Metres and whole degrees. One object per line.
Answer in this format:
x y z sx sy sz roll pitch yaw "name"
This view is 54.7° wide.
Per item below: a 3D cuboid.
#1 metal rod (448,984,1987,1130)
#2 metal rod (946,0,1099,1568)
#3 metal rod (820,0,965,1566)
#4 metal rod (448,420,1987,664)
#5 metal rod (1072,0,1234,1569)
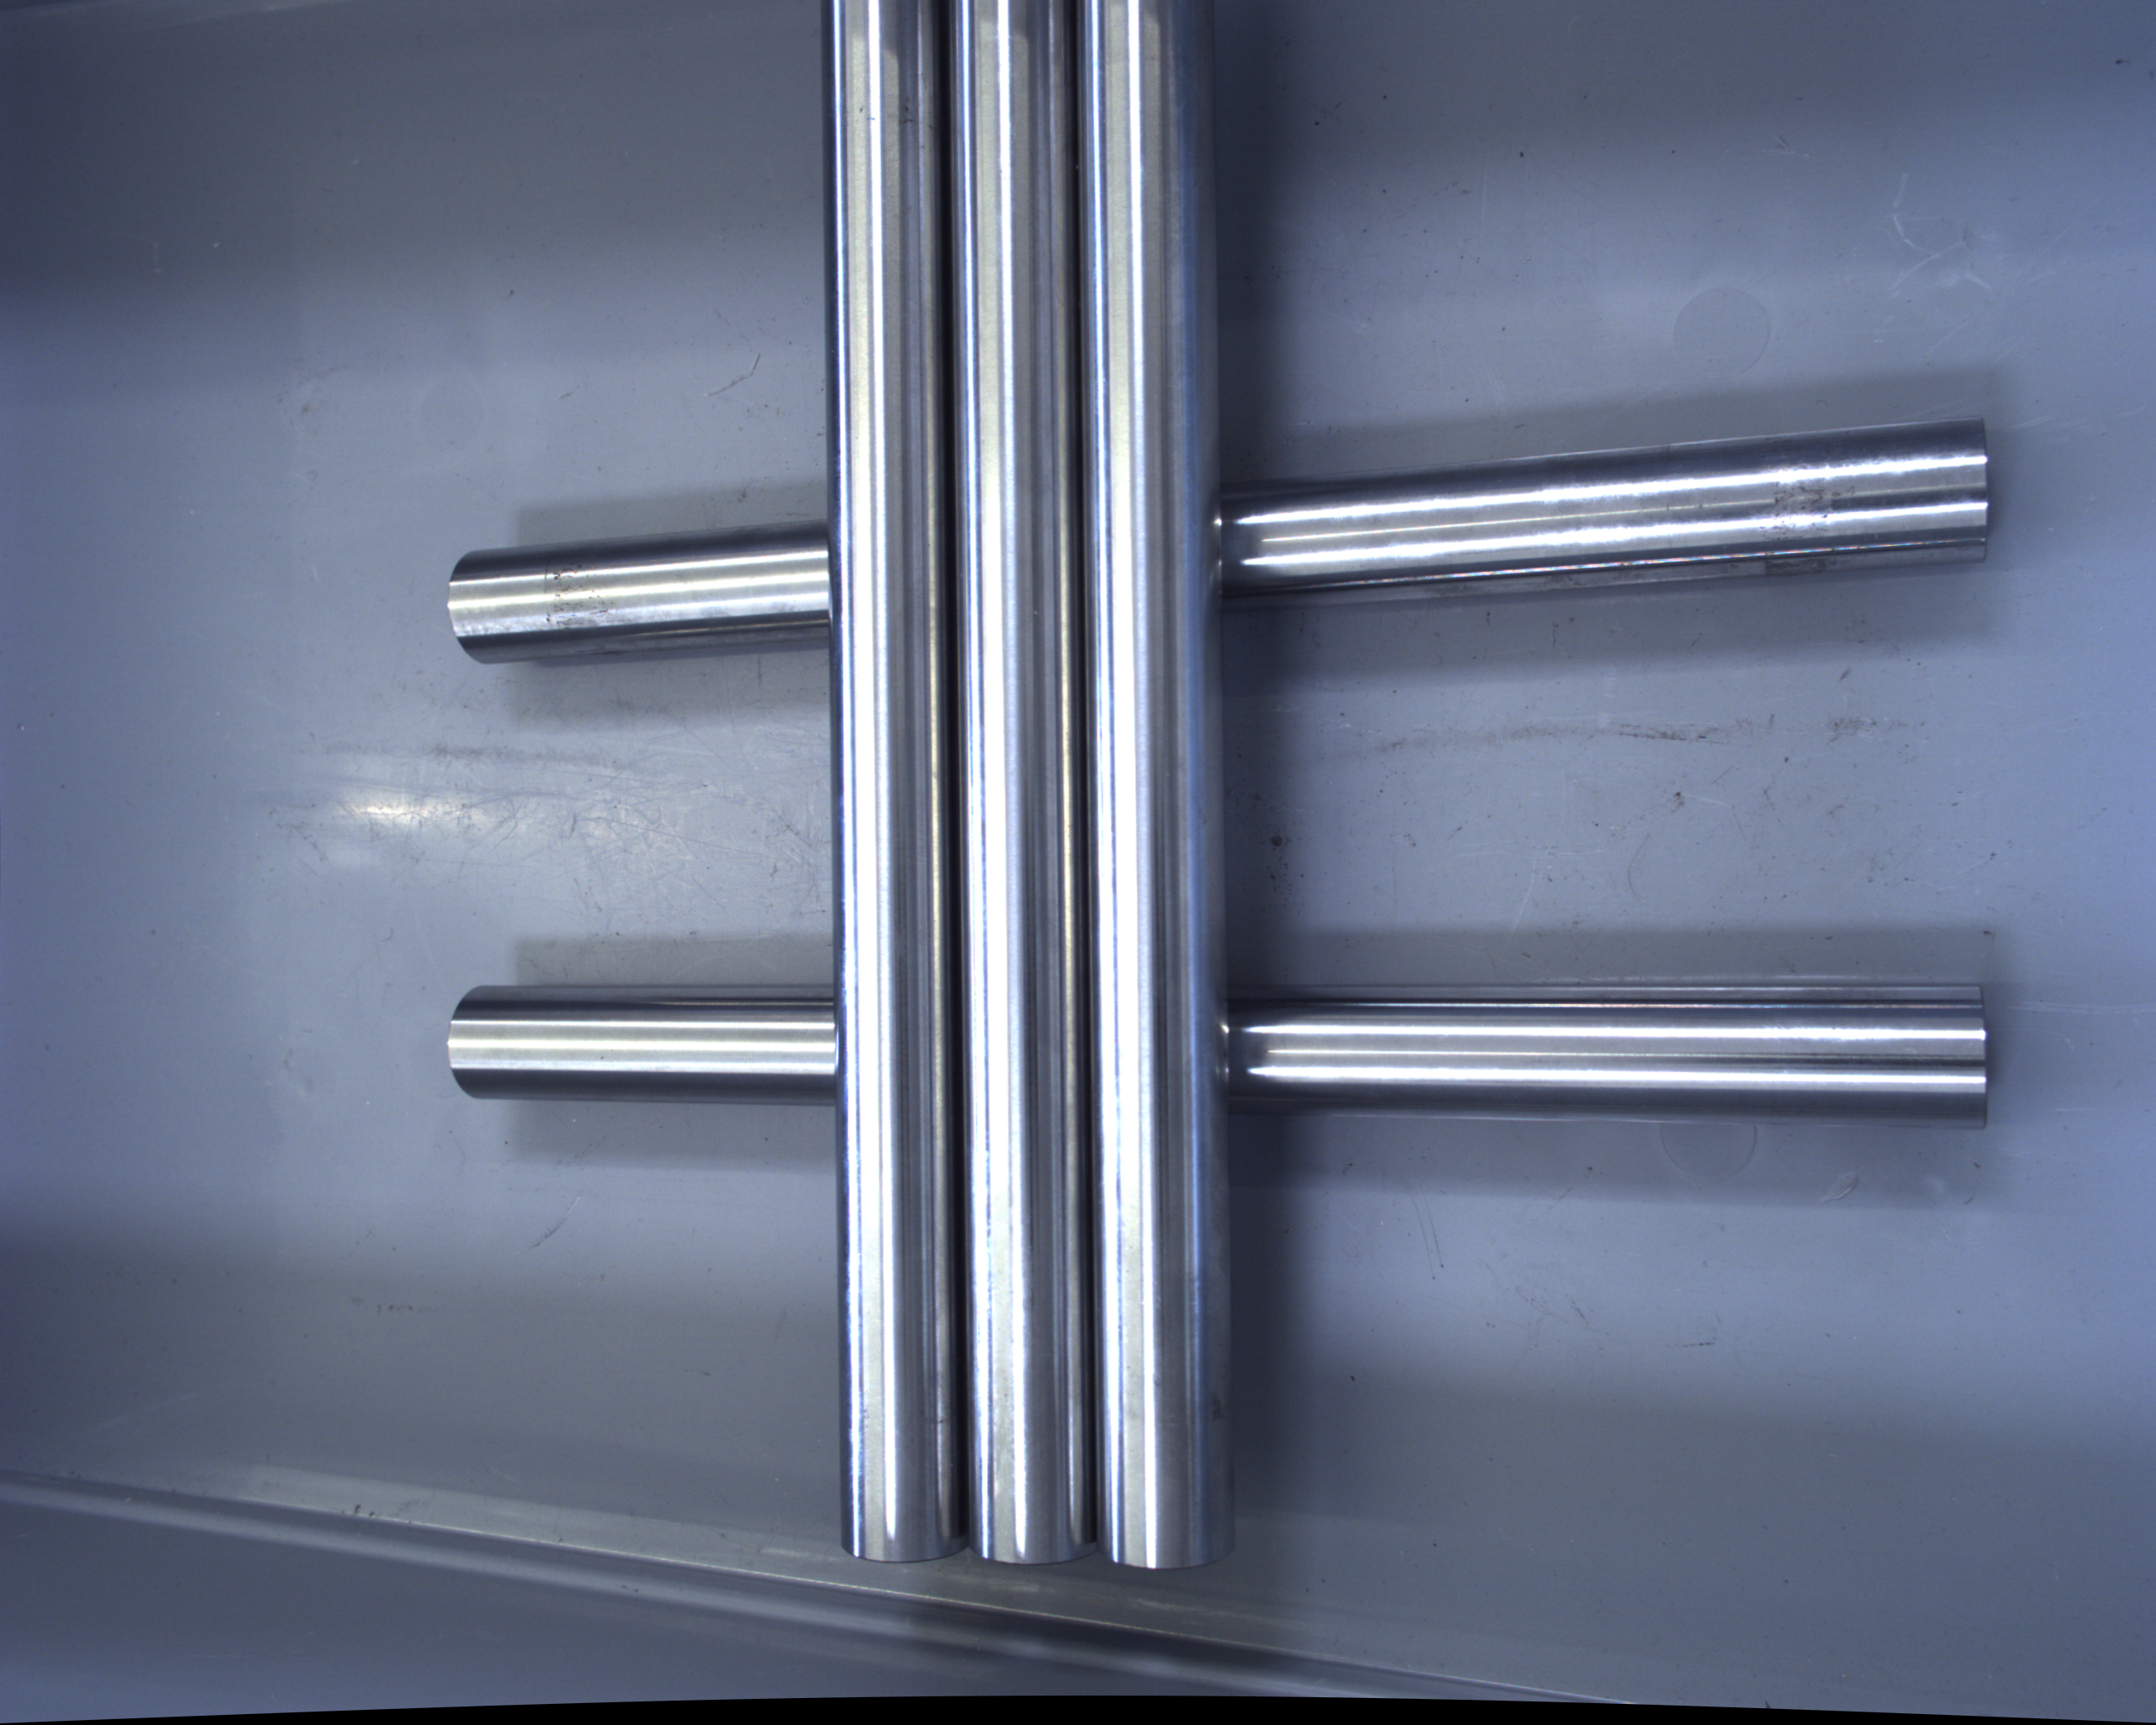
0.012 0.036 0.405 0.301 0.025 0.025 -1 90 19 "metal rod"
-0.010 -0.023 0.385 0.025 0.025 0.298 -1 90 20 "metal rod"
-0.034 -0.021 0.394 0.025 0.025 0.298 -1 90 20 "metal rod"
0.012 -0.059 0.405 0.301 0.025 0.025 -1 90 19 "metal rod"
0.013 -0.026 0.377 0.025 0.025 0.298 -1 90 20 "metal rod"
